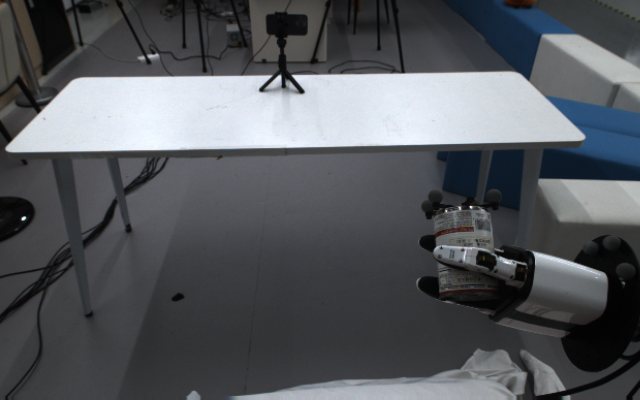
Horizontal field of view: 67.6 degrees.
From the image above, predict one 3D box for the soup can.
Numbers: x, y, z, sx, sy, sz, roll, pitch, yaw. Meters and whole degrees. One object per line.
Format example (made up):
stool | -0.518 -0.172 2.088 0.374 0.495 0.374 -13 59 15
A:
soup can | 0.173 0.064 0.570 0.067 0.067 0.101 1 73 -2
